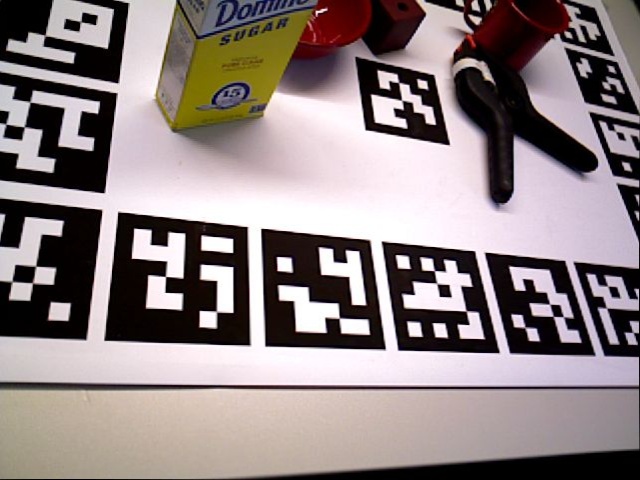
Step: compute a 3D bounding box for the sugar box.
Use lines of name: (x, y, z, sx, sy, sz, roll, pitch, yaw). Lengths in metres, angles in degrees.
sugar box: (-0.072, -0.158, 0.419, 0.091, 0.180, 0.045, -20, 75, -32)

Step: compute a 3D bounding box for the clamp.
clamp: (0.202, -0.149, 0.609, 0.162, 0.037, 0.202, -19, 75, -27)

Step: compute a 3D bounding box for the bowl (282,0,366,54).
bowl: (-0.036, -0.244, 0.549, 0.160, 0.056, 0.160, 10, 62, -20)

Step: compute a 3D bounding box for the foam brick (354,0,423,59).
foam brick: (0.066, -0.253, 0.607, 0.051, 0.052, 0.078, -23, 77, -30)

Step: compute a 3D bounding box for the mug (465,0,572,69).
mug: (0.229, -0.269, 0.656, 0.117, 0.083, 0.091, 31, 57, -11)
